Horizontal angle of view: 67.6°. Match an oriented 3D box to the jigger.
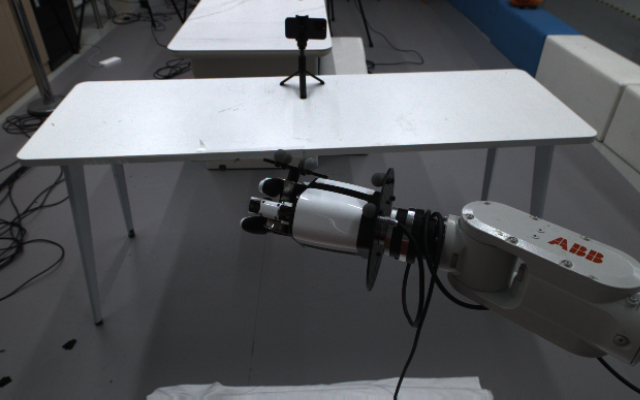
[{"bbox_3d":[-0.045,0.007,0.645,0.043,0.071,0.043,17,2,-1],"label":"jigger"}]
